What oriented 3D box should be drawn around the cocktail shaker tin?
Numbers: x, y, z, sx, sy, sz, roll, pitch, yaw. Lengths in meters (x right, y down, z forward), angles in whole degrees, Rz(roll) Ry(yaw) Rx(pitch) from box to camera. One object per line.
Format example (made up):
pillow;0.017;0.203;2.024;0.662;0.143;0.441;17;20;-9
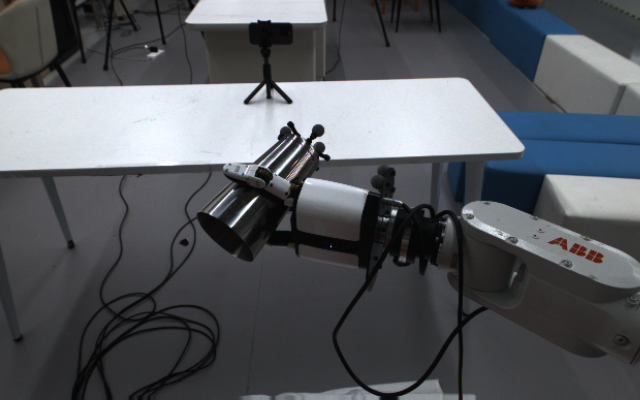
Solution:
cocktail shaker tin;-0.076;-0.014;0.652;0.093;0.093;0.170;23;57;27
